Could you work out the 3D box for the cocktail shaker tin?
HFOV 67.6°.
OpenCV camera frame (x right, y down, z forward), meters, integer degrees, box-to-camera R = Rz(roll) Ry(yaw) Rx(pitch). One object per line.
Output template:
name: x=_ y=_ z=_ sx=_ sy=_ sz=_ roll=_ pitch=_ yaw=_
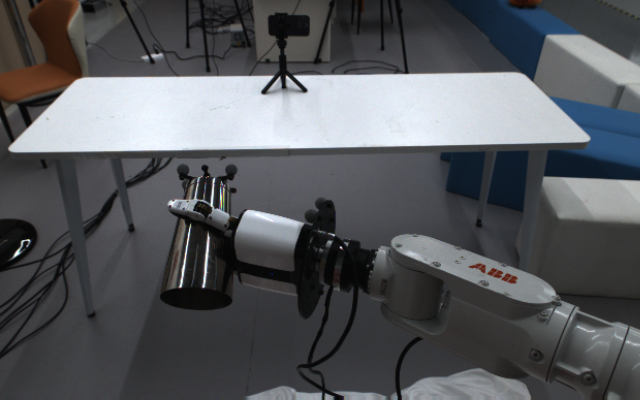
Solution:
cocktail shaker tin: x=-0.163 y=0.056 z=0.664 sx=0.093 sy=0.093 sz=0.170 roll=0 pitch=59 yaw=-3
